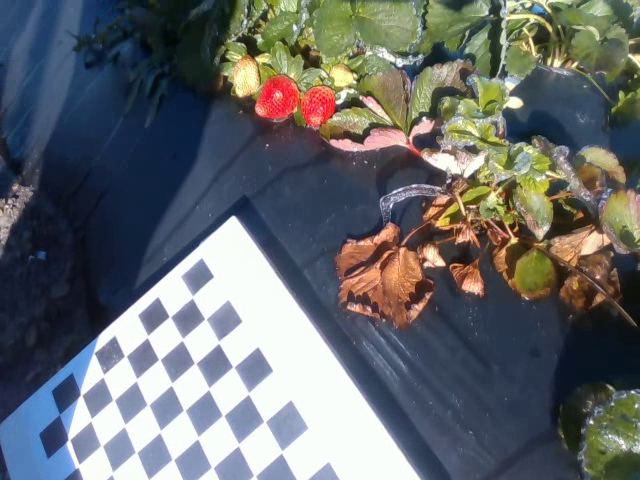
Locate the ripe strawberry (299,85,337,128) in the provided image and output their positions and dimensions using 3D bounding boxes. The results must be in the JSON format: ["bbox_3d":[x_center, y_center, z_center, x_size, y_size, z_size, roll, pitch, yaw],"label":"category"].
[{"bbox_3d":[-0.001,-0.113,0.497,0.036,0.041,0.030,-17,-31,17],"label":"ripe strawberry"}]

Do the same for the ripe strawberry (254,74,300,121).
[{"bbox_3d":[-0.041,-0.116,0.496,0.036,0.040,0.052,8,36,25],"label":"ripe strawberry"}]
